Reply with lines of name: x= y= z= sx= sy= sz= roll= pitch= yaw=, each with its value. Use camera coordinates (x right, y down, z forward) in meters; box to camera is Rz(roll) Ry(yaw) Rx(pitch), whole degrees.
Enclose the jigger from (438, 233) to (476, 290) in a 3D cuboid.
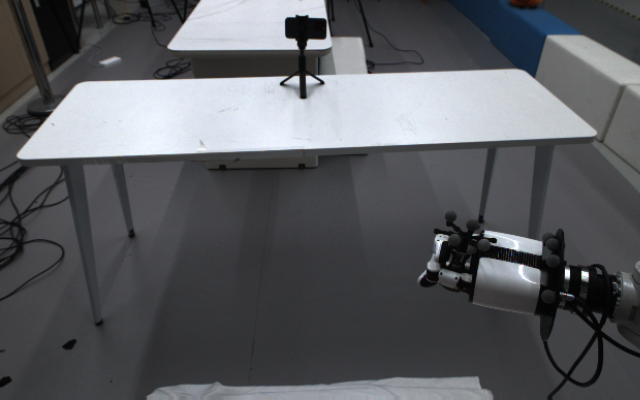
jigger: x=0.206 y=0.096 z=0.723 sx=0.043 sy=0.071 sz=0.043 roll=6 pitch=26 yaw=-3
